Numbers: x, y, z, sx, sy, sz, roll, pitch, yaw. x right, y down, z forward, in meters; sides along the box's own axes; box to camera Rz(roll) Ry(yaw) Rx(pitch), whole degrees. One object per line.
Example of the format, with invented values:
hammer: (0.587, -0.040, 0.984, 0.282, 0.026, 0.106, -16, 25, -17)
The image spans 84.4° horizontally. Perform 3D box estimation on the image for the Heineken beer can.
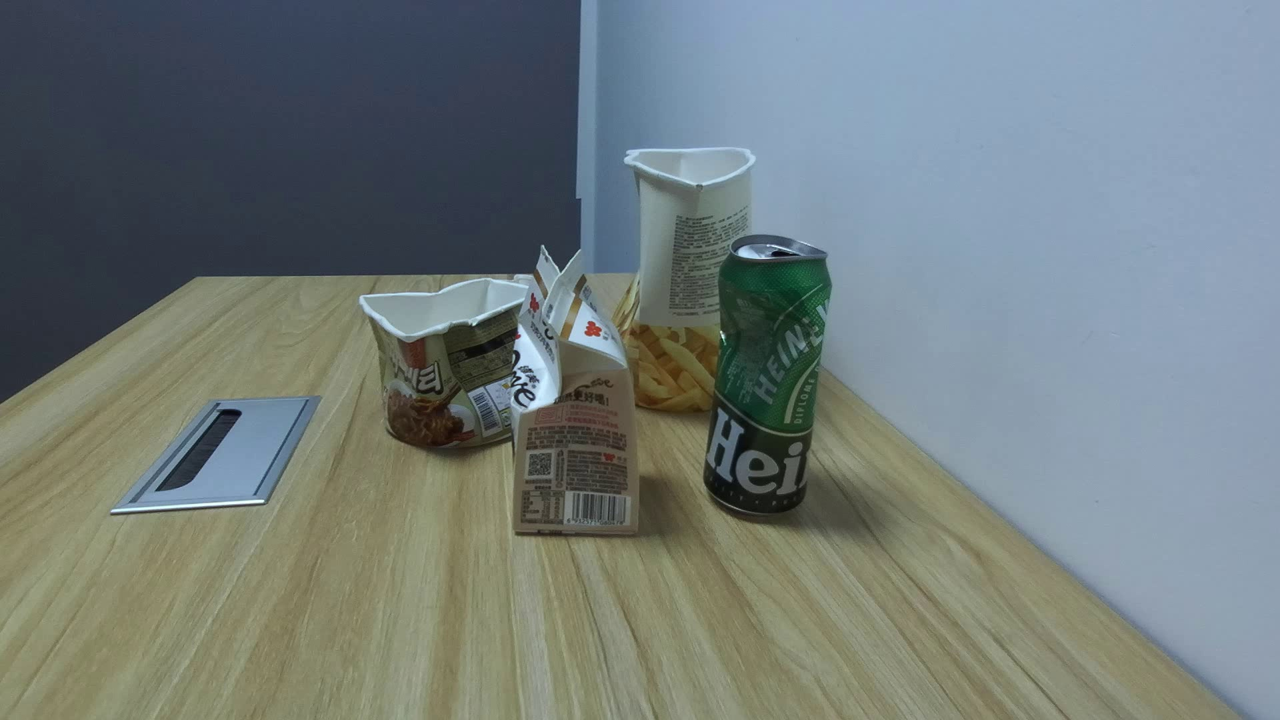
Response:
Heineken beer can: (0.075, 0.011, 0.424, 0.066, 0.164, 0.078, 7, 23, 14)

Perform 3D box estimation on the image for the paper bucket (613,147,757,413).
paper bucket: (0.032, -0.074, 0.592, 0.148, 0.199, 0.217, -10, 24, -30)

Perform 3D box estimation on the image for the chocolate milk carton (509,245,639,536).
chocolate milk carton: (-0.038, 0.016, 0.410, 0.073, 0.155, 0.076, -1, 22, -2)

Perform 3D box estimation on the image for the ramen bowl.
ramen bowl: (-0.131, -0.002, 0.531, 0.129, 0.093, 0.111, -17, 29, -37)
